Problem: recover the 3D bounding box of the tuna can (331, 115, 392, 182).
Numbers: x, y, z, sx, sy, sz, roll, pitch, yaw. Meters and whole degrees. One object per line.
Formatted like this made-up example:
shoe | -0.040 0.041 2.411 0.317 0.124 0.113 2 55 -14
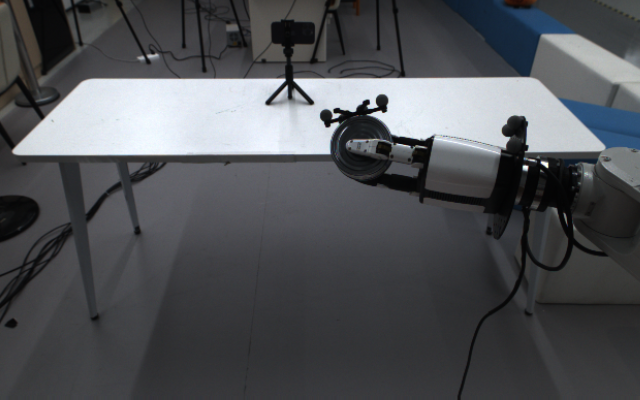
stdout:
tuna can | 0.062 -0.066 0.655 0.085 0.085 0.034 12 -6 15
